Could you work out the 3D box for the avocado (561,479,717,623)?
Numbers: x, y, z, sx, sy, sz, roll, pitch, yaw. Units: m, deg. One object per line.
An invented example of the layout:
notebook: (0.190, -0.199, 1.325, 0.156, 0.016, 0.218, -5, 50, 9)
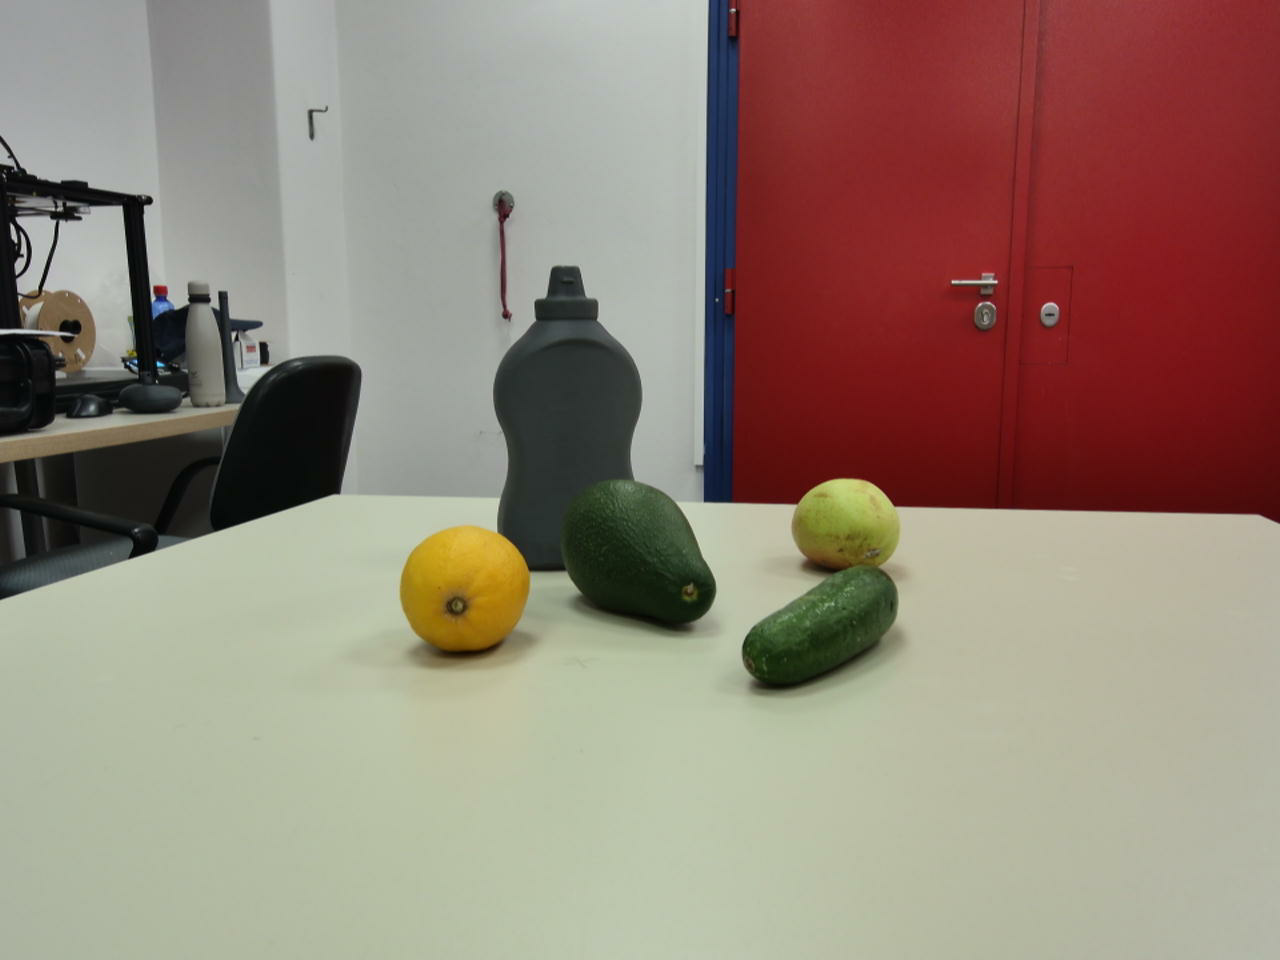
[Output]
avocado: (-0.004, 0.036, 0.534, 0.072, 0.071, 0.109, -2, 6, -11)
